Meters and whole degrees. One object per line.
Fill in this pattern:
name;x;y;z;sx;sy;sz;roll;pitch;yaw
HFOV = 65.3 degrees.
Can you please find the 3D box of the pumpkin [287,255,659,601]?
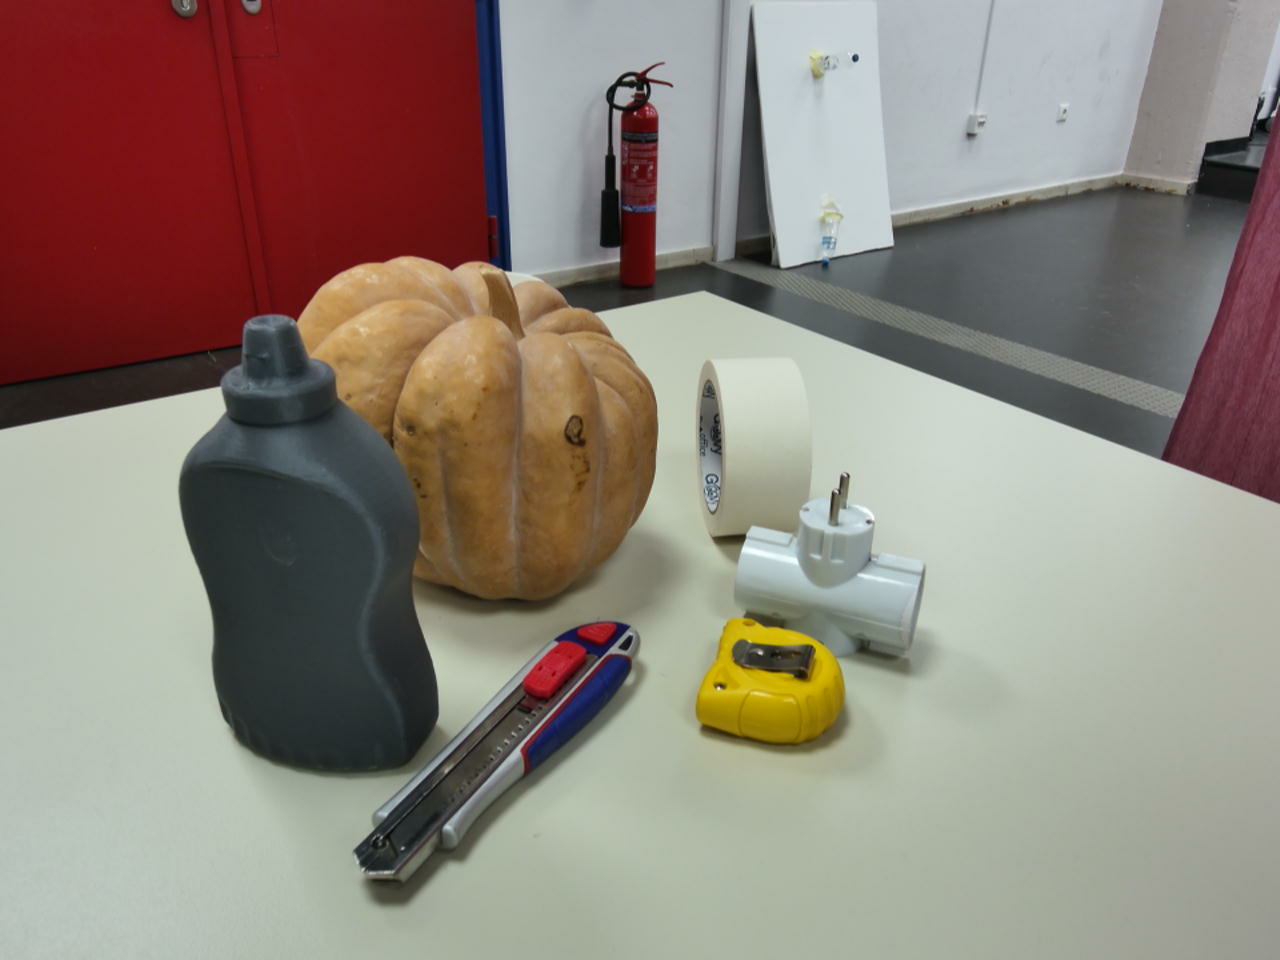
pumpkin;-0.085;-0.029;0.535;0.199;0.177;0.198;1;26;-1
